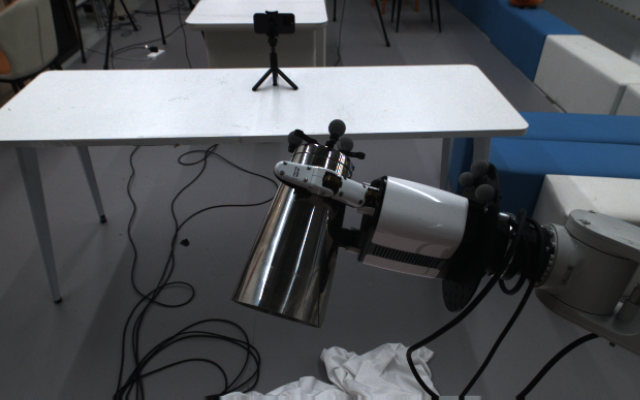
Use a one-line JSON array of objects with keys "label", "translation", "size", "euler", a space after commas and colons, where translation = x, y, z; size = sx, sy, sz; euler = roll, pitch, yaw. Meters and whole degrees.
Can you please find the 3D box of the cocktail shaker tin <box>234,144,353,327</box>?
[{"label": "cocktail shaker tin", "translation": [-0.017, 0.032, 0.494], "size": [0.093, 0.093, 0.170], "euler": [12, 72, 14]}]
